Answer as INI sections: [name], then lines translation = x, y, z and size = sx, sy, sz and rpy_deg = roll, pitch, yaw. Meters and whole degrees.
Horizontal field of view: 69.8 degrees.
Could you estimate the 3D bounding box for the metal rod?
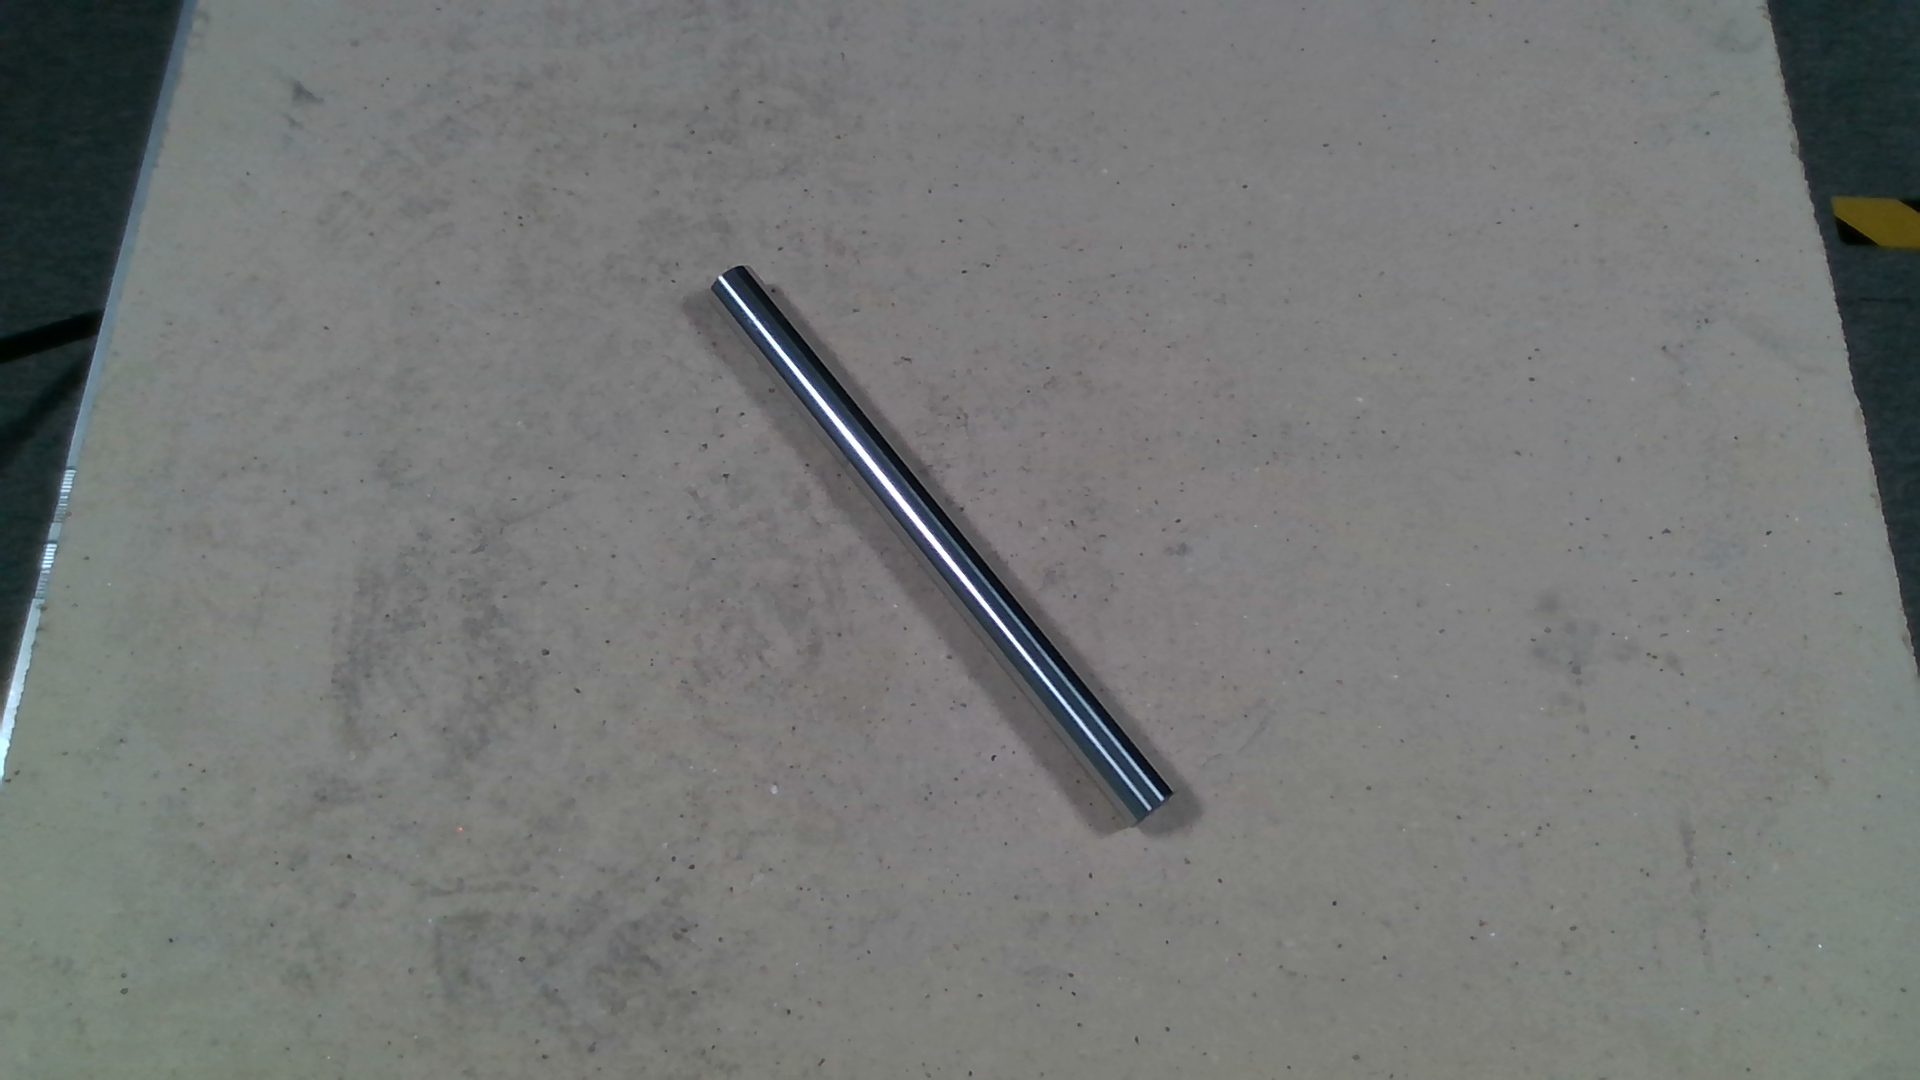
[metal rod]
translation = -0.014, -0.005, 0.590
size = 0.025, 0.025, 0.300
rpy_deg = -36, 74, -12
